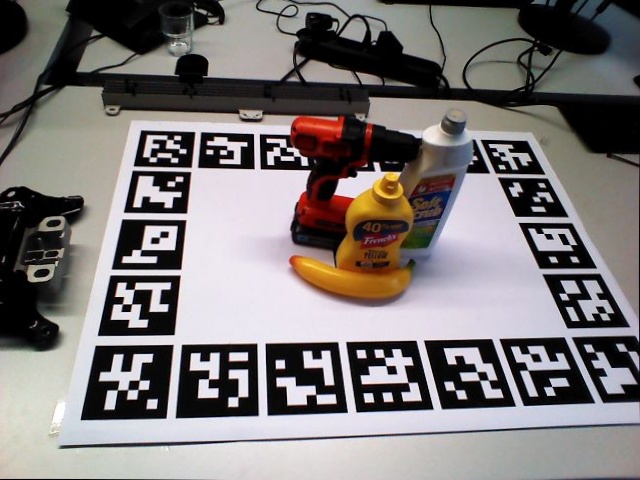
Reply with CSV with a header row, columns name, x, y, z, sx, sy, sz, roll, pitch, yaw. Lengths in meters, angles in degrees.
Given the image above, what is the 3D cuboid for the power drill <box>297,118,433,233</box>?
name,x,y,z,sx,sy,sz,roll,pitch,yaw
power drill,0.052,-0.090,0.749,0.185,0.188,0.057,11,49,0

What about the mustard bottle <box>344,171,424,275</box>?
name,x,y,z,sx,sy,sz,roll,pitch,yaw
mustard bottle,0.094,-0.022,0.725,0.096,0.192,0.058,1,51,-7

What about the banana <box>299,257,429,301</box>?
name,x,y,z,sx,sy,sz,roll,pitch,yaw
banana,0.067,0.055,0.770,0.198,0.039,0.074,3,51,-2

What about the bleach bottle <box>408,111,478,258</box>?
name,x,y,z,sx,sy,sz,roll,pitch,yaw
bleach bottle,0.163,-0.081,0.751,0.103,0.252,0.067,3,45,-5
